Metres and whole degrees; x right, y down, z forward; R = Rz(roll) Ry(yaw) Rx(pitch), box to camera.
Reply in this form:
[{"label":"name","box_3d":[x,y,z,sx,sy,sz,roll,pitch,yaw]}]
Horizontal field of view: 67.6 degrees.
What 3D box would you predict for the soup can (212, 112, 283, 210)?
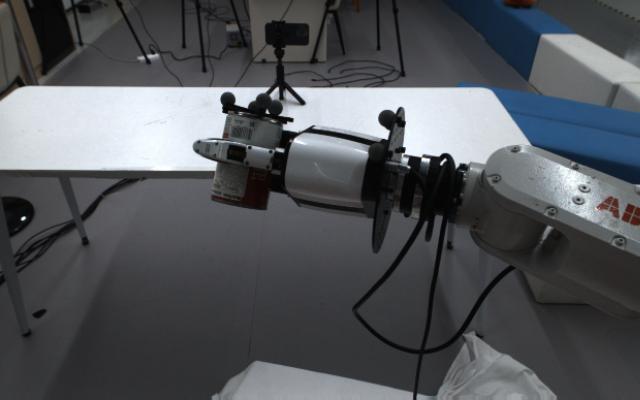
[{"label":"soup can","box_3d":[-0.083,-0.044,0.557,0.067,0.101,0.067,11,2,0]}]
